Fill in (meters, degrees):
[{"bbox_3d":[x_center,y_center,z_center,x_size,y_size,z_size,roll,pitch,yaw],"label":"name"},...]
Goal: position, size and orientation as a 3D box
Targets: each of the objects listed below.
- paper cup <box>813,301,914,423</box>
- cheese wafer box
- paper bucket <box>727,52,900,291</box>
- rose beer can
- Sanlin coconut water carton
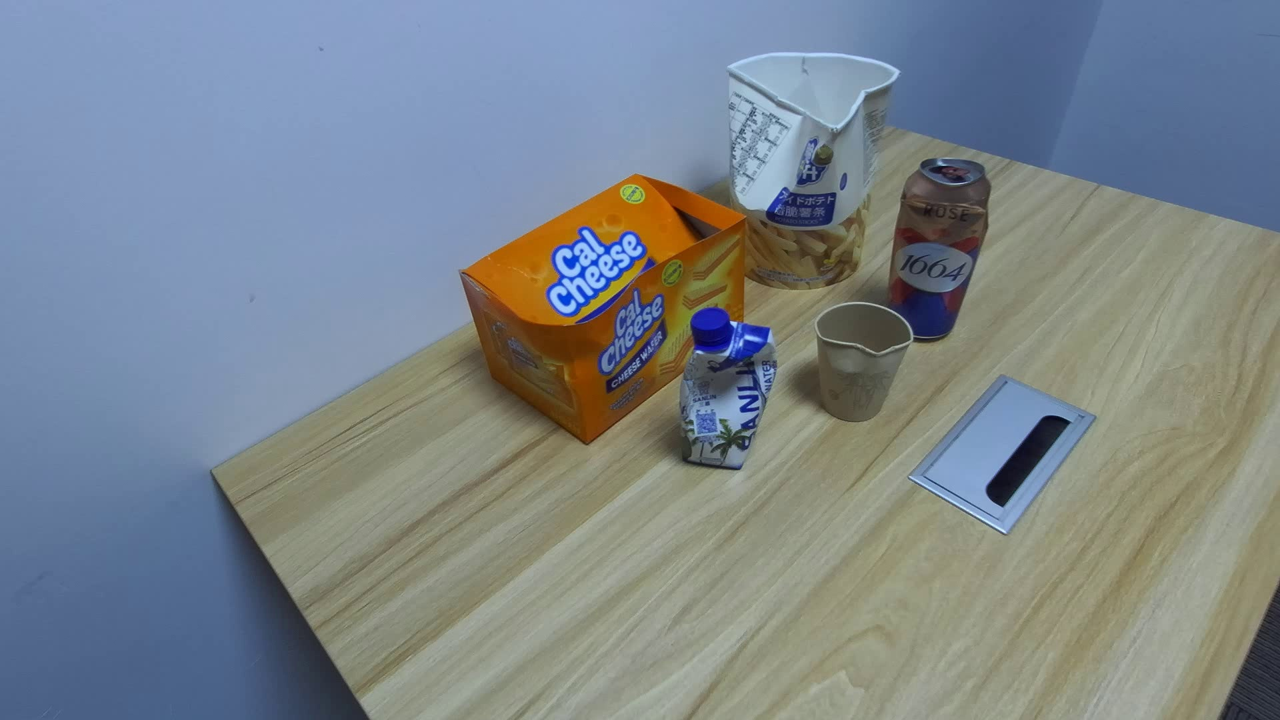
[{"bbox_3d":[0.183,0.004,0.598,0.073,0.081,0.068,-22,43,-19],"label":"paper cup"},{"bbox_3d":[-0.025,-0.053,0.659,0.151,0.132,0.231,32,52,33],"label":"cheese wafer box"},{"bbox_3d":[0.161,-0.197,0.748,0.162,0.202,0.169,21,45,29],"label":"paper bucket"},{"bbox_3d":[0.273,-0.100,0.651,0.075,0.167,0.065,18,45,29],"label":"rose beer can"},{"bbox_3d":[0.067,0.025,0.545,0.068,0.145,0.057,12,51,9],"label":"Sanlin coconut water carton"}]
